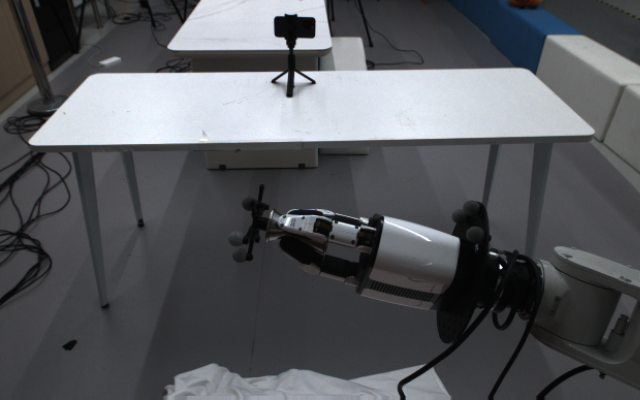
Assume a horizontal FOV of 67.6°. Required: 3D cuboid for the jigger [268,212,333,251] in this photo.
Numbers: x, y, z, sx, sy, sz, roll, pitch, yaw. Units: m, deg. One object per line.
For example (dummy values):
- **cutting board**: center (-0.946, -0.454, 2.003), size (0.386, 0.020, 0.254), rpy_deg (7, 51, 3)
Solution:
- **jigger**: center (-0.016, 0.031, 0.546), size (0.071, 0.043, 0.043), rpy_deg (11, 35, 3)
